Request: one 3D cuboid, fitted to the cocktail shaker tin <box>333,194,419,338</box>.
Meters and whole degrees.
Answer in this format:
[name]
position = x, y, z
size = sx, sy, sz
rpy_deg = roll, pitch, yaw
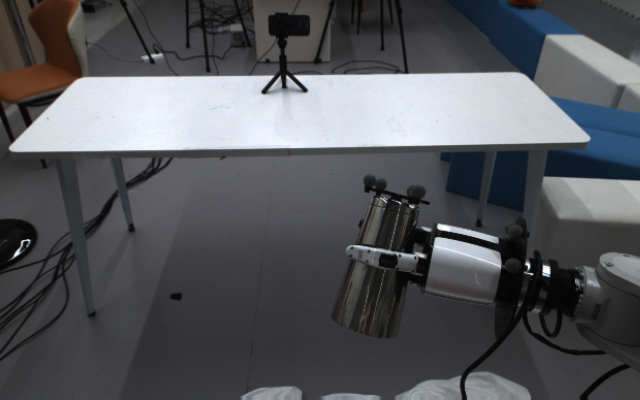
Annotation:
[cocktail shaker tin]
position = 0.079, 0.084, 0.644
size = 0.093, 0.170, 0.093
rpy_deg = 14, 2, 0
